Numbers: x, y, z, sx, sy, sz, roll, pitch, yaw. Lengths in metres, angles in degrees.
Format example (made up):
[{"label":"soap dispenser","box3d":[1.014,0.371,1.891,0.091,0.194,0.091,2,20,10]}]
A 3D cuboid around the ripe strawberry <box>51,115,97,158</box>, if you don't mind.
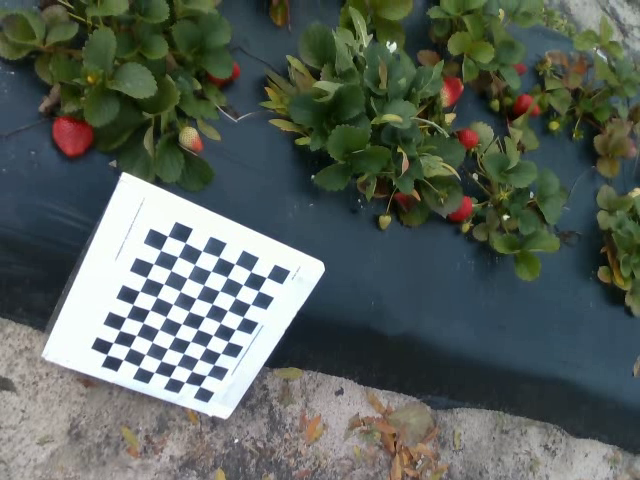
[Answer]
[{"label":"ripe strawberry","box3d":[-0.232,-0.095,0.586,0.037,0.046,0.037,-13,-22,5]}]
